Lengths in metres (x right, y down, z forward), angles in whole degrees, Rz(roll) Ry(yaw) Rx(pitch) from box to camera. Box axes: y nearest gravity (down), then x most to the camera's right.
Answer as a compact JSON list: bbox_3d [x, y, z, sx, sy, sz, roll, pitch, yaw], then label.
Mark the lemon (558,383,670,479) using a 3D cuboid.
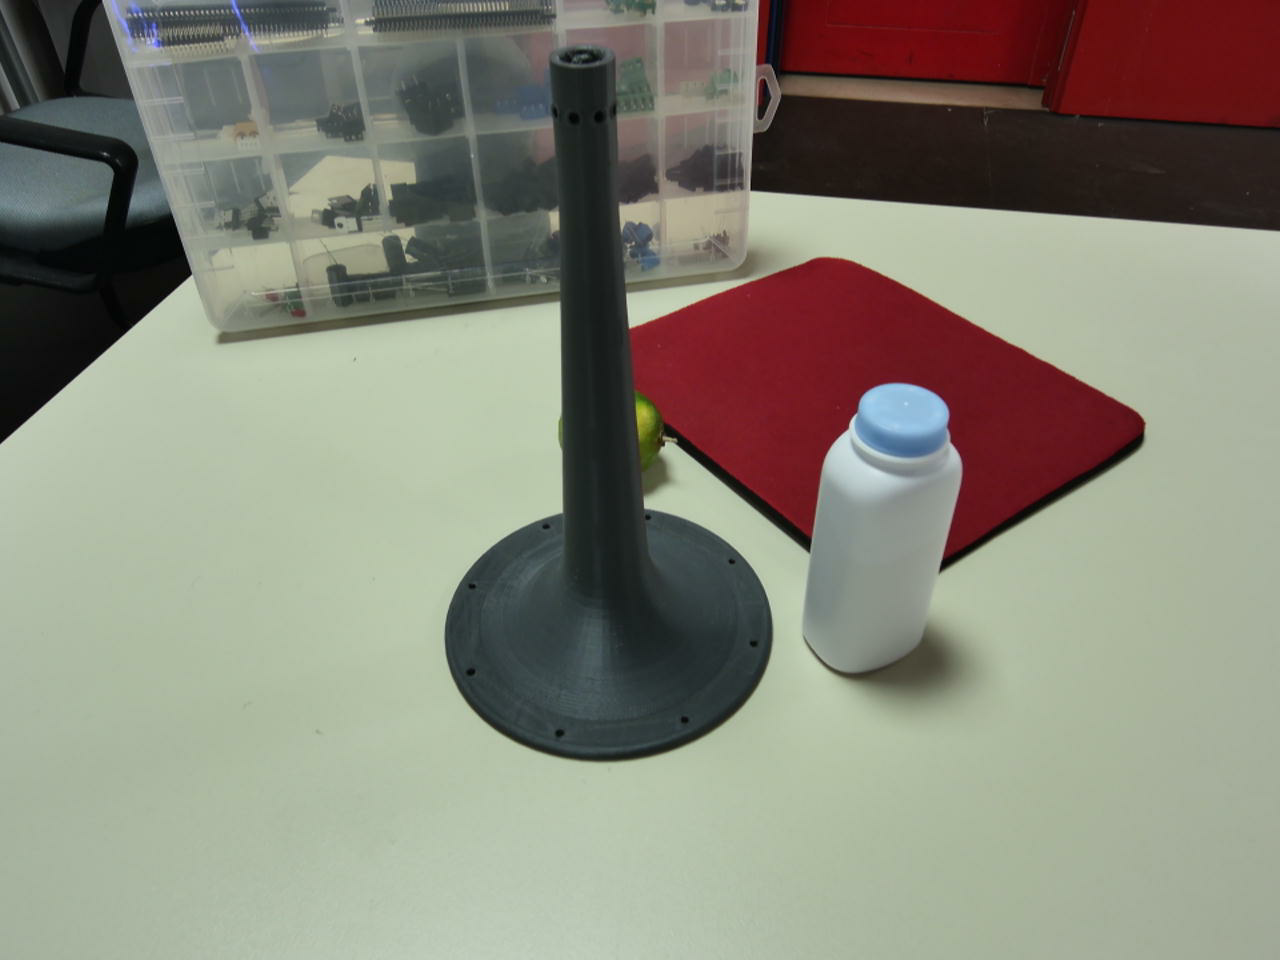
[{"bbox_3d":[-0.016,-0.027,0.538,0.054,0.050,0.055,-17,42,-21],"label":"lemon"}]
